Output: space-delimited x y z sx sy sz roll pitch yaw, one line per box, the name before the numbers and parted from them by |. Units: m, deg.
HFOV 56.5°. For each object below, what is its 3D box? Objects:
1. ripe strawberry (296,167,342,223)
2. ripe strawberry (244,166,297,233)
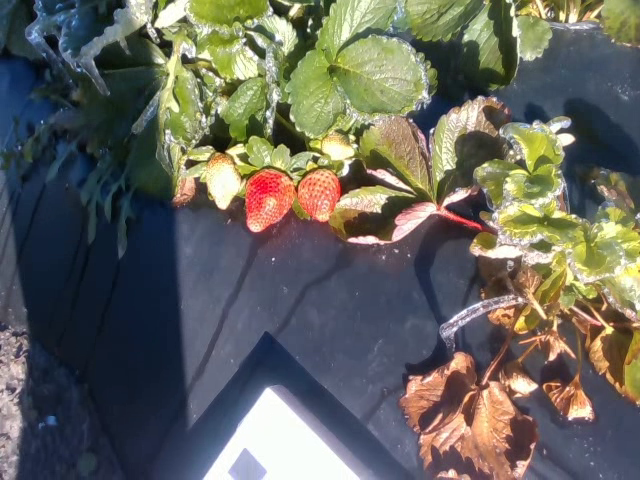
ripe strawberry | 0.001 -0.029 0.405 0.036 0.041 0.030 -29 -21 20
ripe strawberry | -0.038 -0.021 0.404 0.036 0.052 0.040 -3 -43 24
